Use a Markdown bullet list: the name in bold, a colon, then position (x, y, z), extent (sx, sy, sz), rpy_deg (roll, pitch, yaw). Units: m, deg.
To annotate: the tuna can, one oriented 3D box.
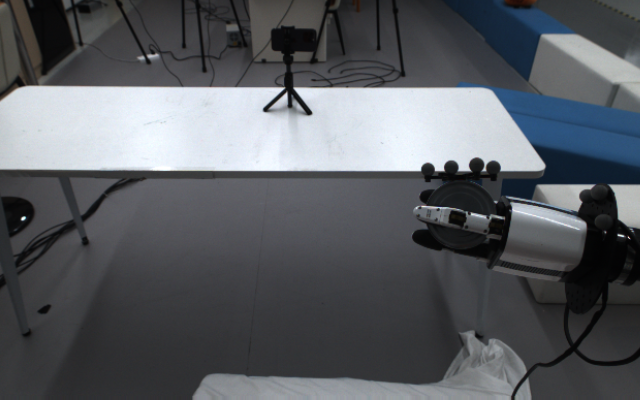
- **tuna can**: position (0.179, 0.017, 0.615), extent (0.085, 0.085, 0.034), rpy_deg (15, 2, 18)
